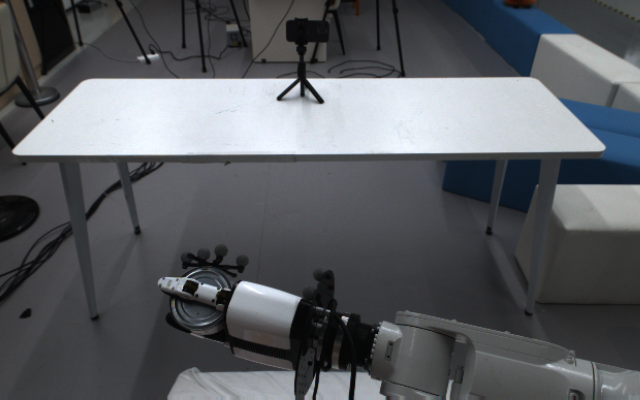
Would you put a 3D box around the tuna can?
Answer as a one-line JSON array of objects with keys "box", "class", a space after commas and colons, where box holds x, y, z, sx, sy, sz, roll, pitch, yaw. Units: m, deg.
[{"box": [-0.150, 0.134, 0.639, 0.085, 0.034, 0.085, -3, 61, 6], "class": "tuna can"}]
